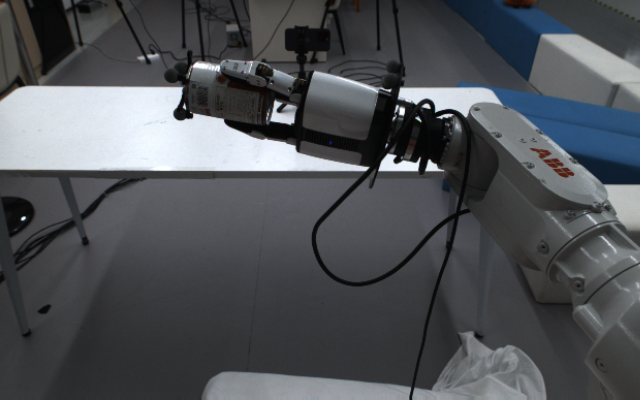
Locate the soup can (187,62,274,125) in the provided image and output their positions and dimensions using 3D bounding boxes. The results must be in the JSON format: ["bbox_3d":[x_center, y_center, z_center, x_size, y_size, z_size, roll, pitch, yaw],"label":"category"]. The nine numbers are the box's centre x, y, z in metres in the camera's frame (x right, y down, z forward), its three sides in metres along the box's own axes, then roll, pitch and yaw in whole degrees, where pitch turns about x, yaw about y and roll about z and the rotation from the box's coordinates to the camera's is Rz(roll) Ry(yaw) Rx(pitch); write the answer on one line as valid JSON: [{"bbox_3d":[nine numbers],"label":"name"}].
[{"bbox_3d":[-0.110,-0.134,0.614,0.101,0.067,0.067,10,35,-1],"label":"soup can"}]
